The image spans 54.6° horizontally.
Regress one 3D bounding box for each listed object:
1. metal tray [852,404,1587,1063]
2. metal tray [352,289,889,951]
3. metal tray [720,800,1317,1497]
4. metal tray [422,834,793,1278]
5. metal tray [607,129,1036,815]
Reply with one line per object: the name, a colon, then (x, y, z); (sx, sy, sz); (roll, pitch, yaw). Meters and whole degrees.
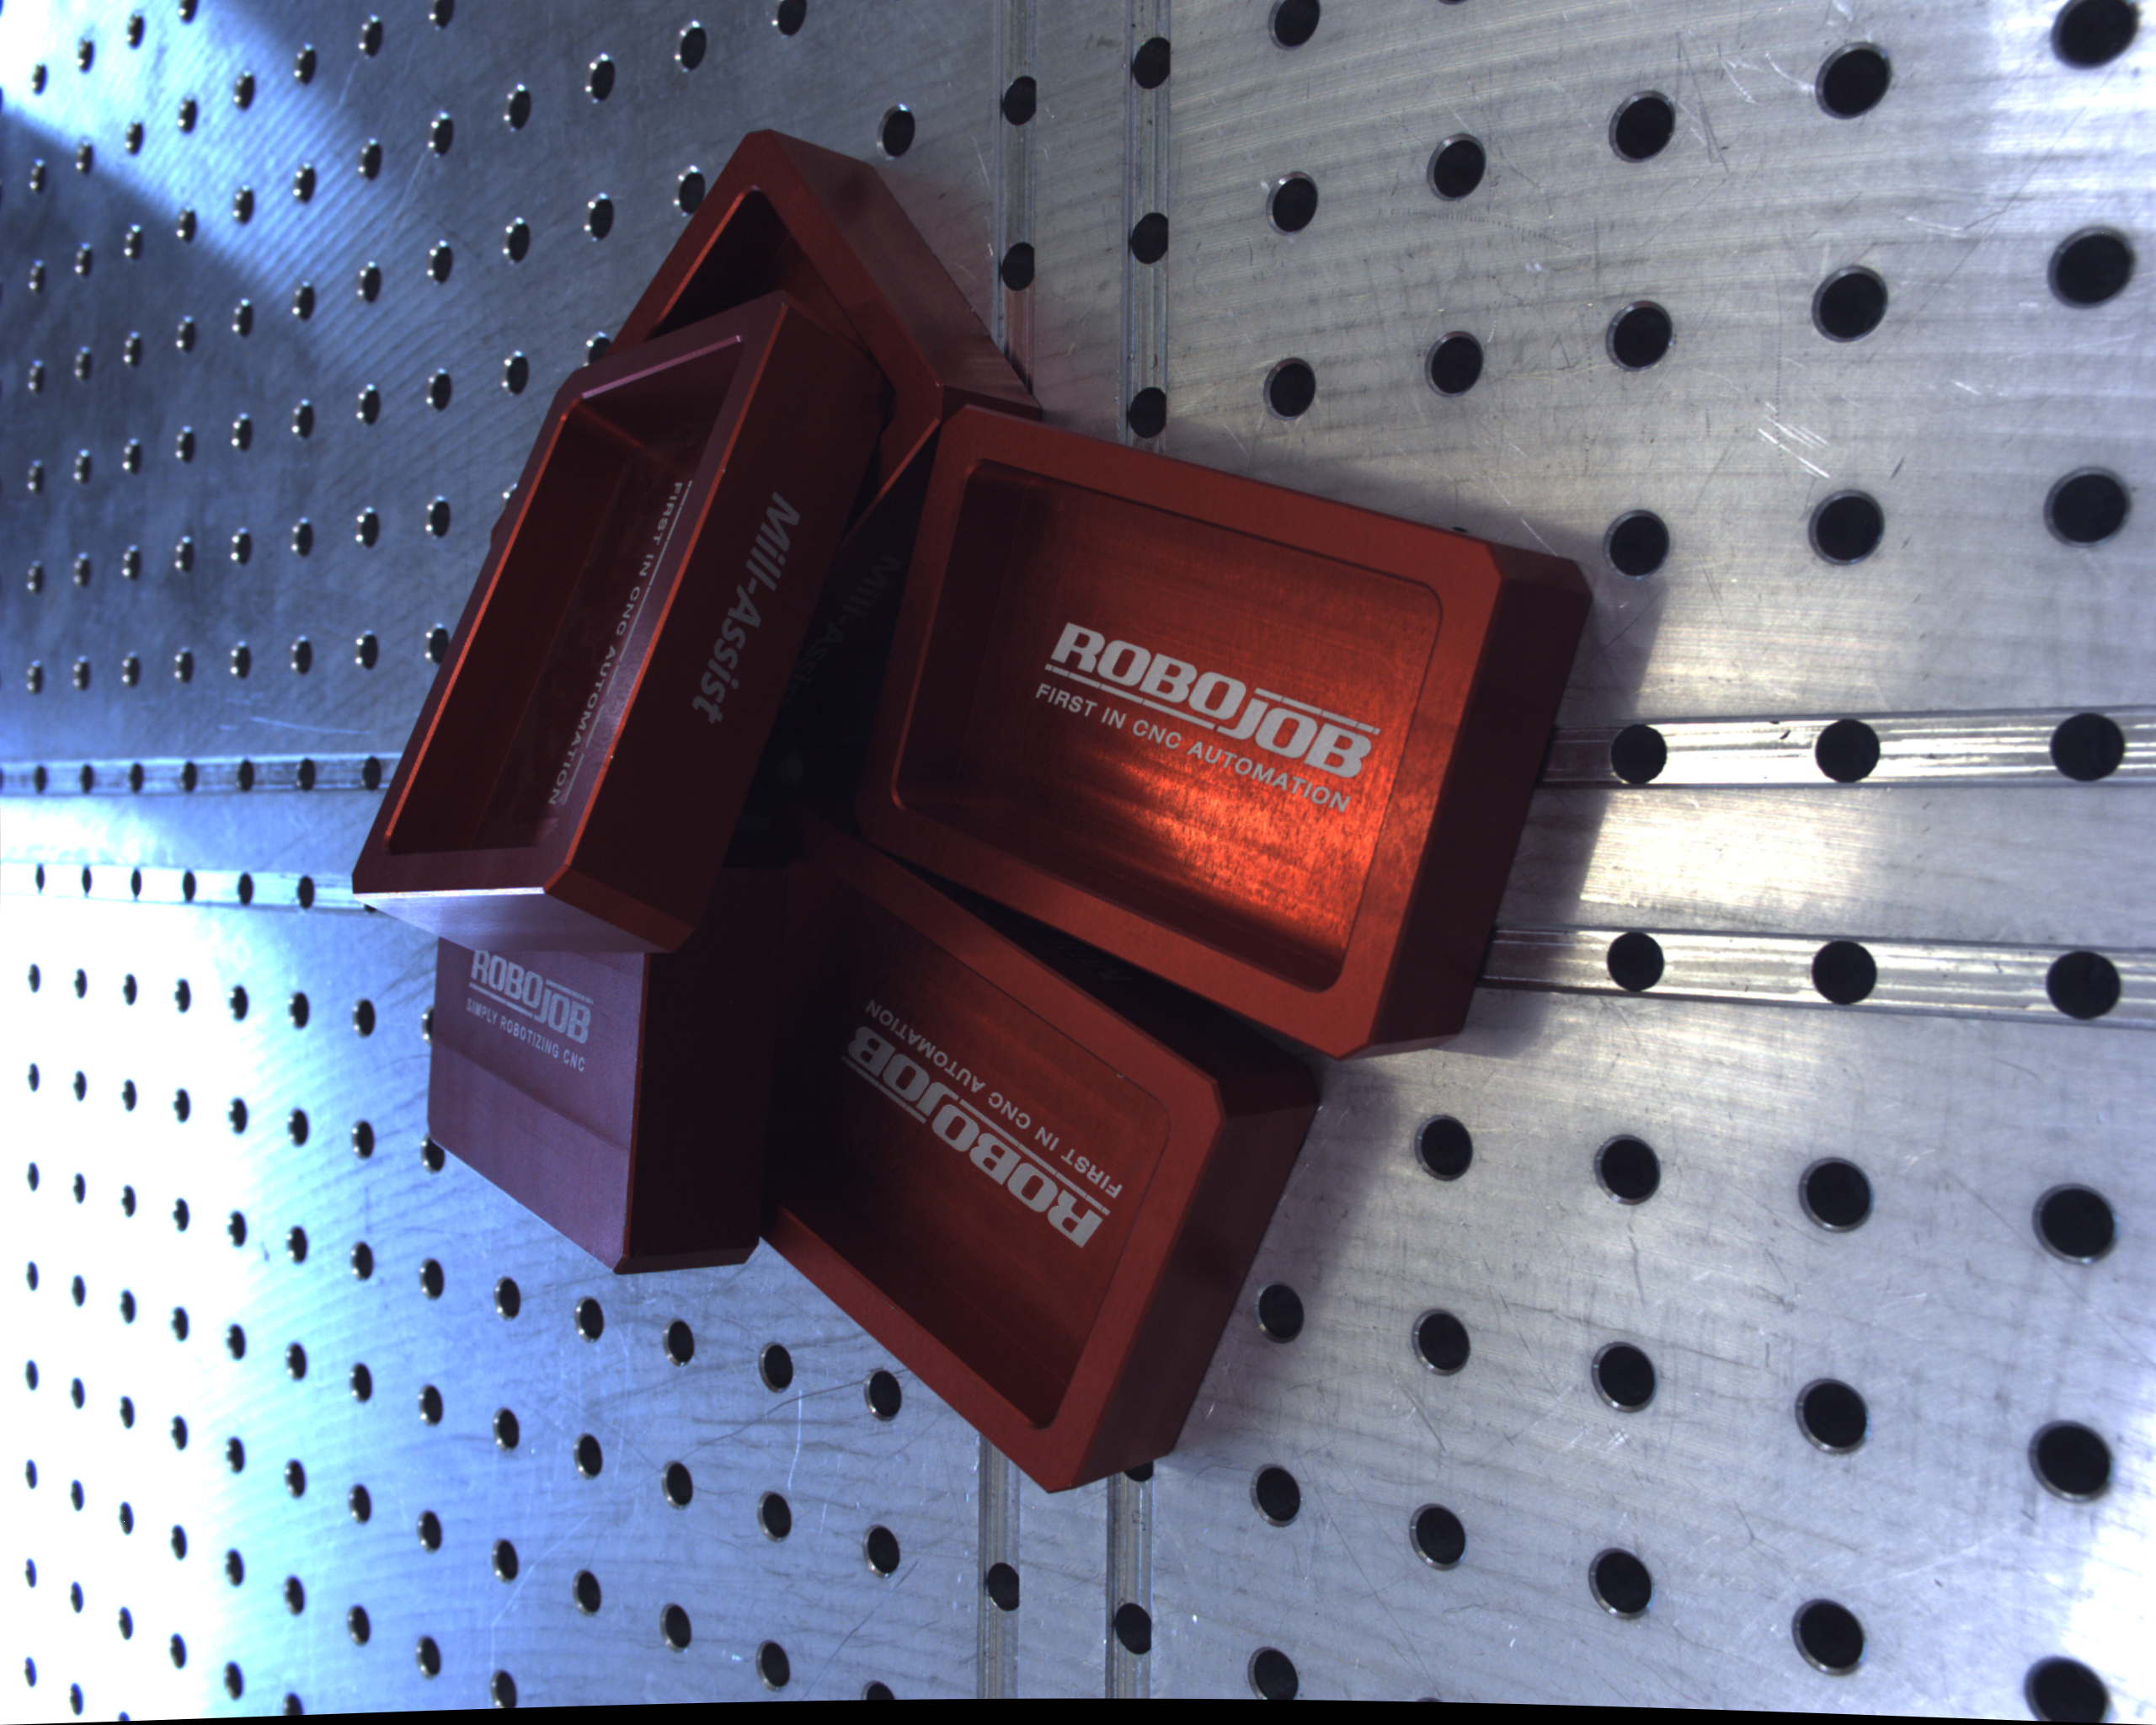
metal tray: (0.020, -0.028, 0.389); (0.130, 0.030, 0.089); (23, 105, 37)
metal tray: (-0.094, -0.047, 0.429); (0.090, 0.030, 0.130); (-2, 64, 47)
metal tray: (-0.023, 0.053, 0.425); (0.130, 0.030, 0.089); (32, 110, 35)
metal tray: (-0.112, 0.033, 0.478); (0.130, 0.030, 0.089); (12, 99, 54)
metal tray: (-0.075, -0.084, 0.469); (0.129, 0.030, 0.090); (-47, 61, 30)
